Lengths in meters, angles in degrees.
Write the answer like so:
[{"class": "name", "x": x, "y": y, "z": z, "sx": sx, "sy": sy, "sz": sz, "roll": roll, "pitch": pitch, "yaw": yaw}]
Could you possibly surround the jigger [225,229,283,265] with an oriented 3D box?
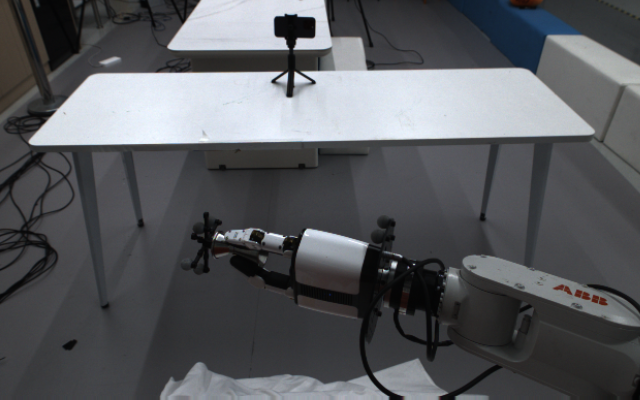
[{"class": "jigger", "x": -0.101, "y": 0.061, "z": 0.657, "sx": 0.071, "sy": 0.043, "sz": 0.043, "roll": 6, "pitch": 35, "yaw": 12}]
